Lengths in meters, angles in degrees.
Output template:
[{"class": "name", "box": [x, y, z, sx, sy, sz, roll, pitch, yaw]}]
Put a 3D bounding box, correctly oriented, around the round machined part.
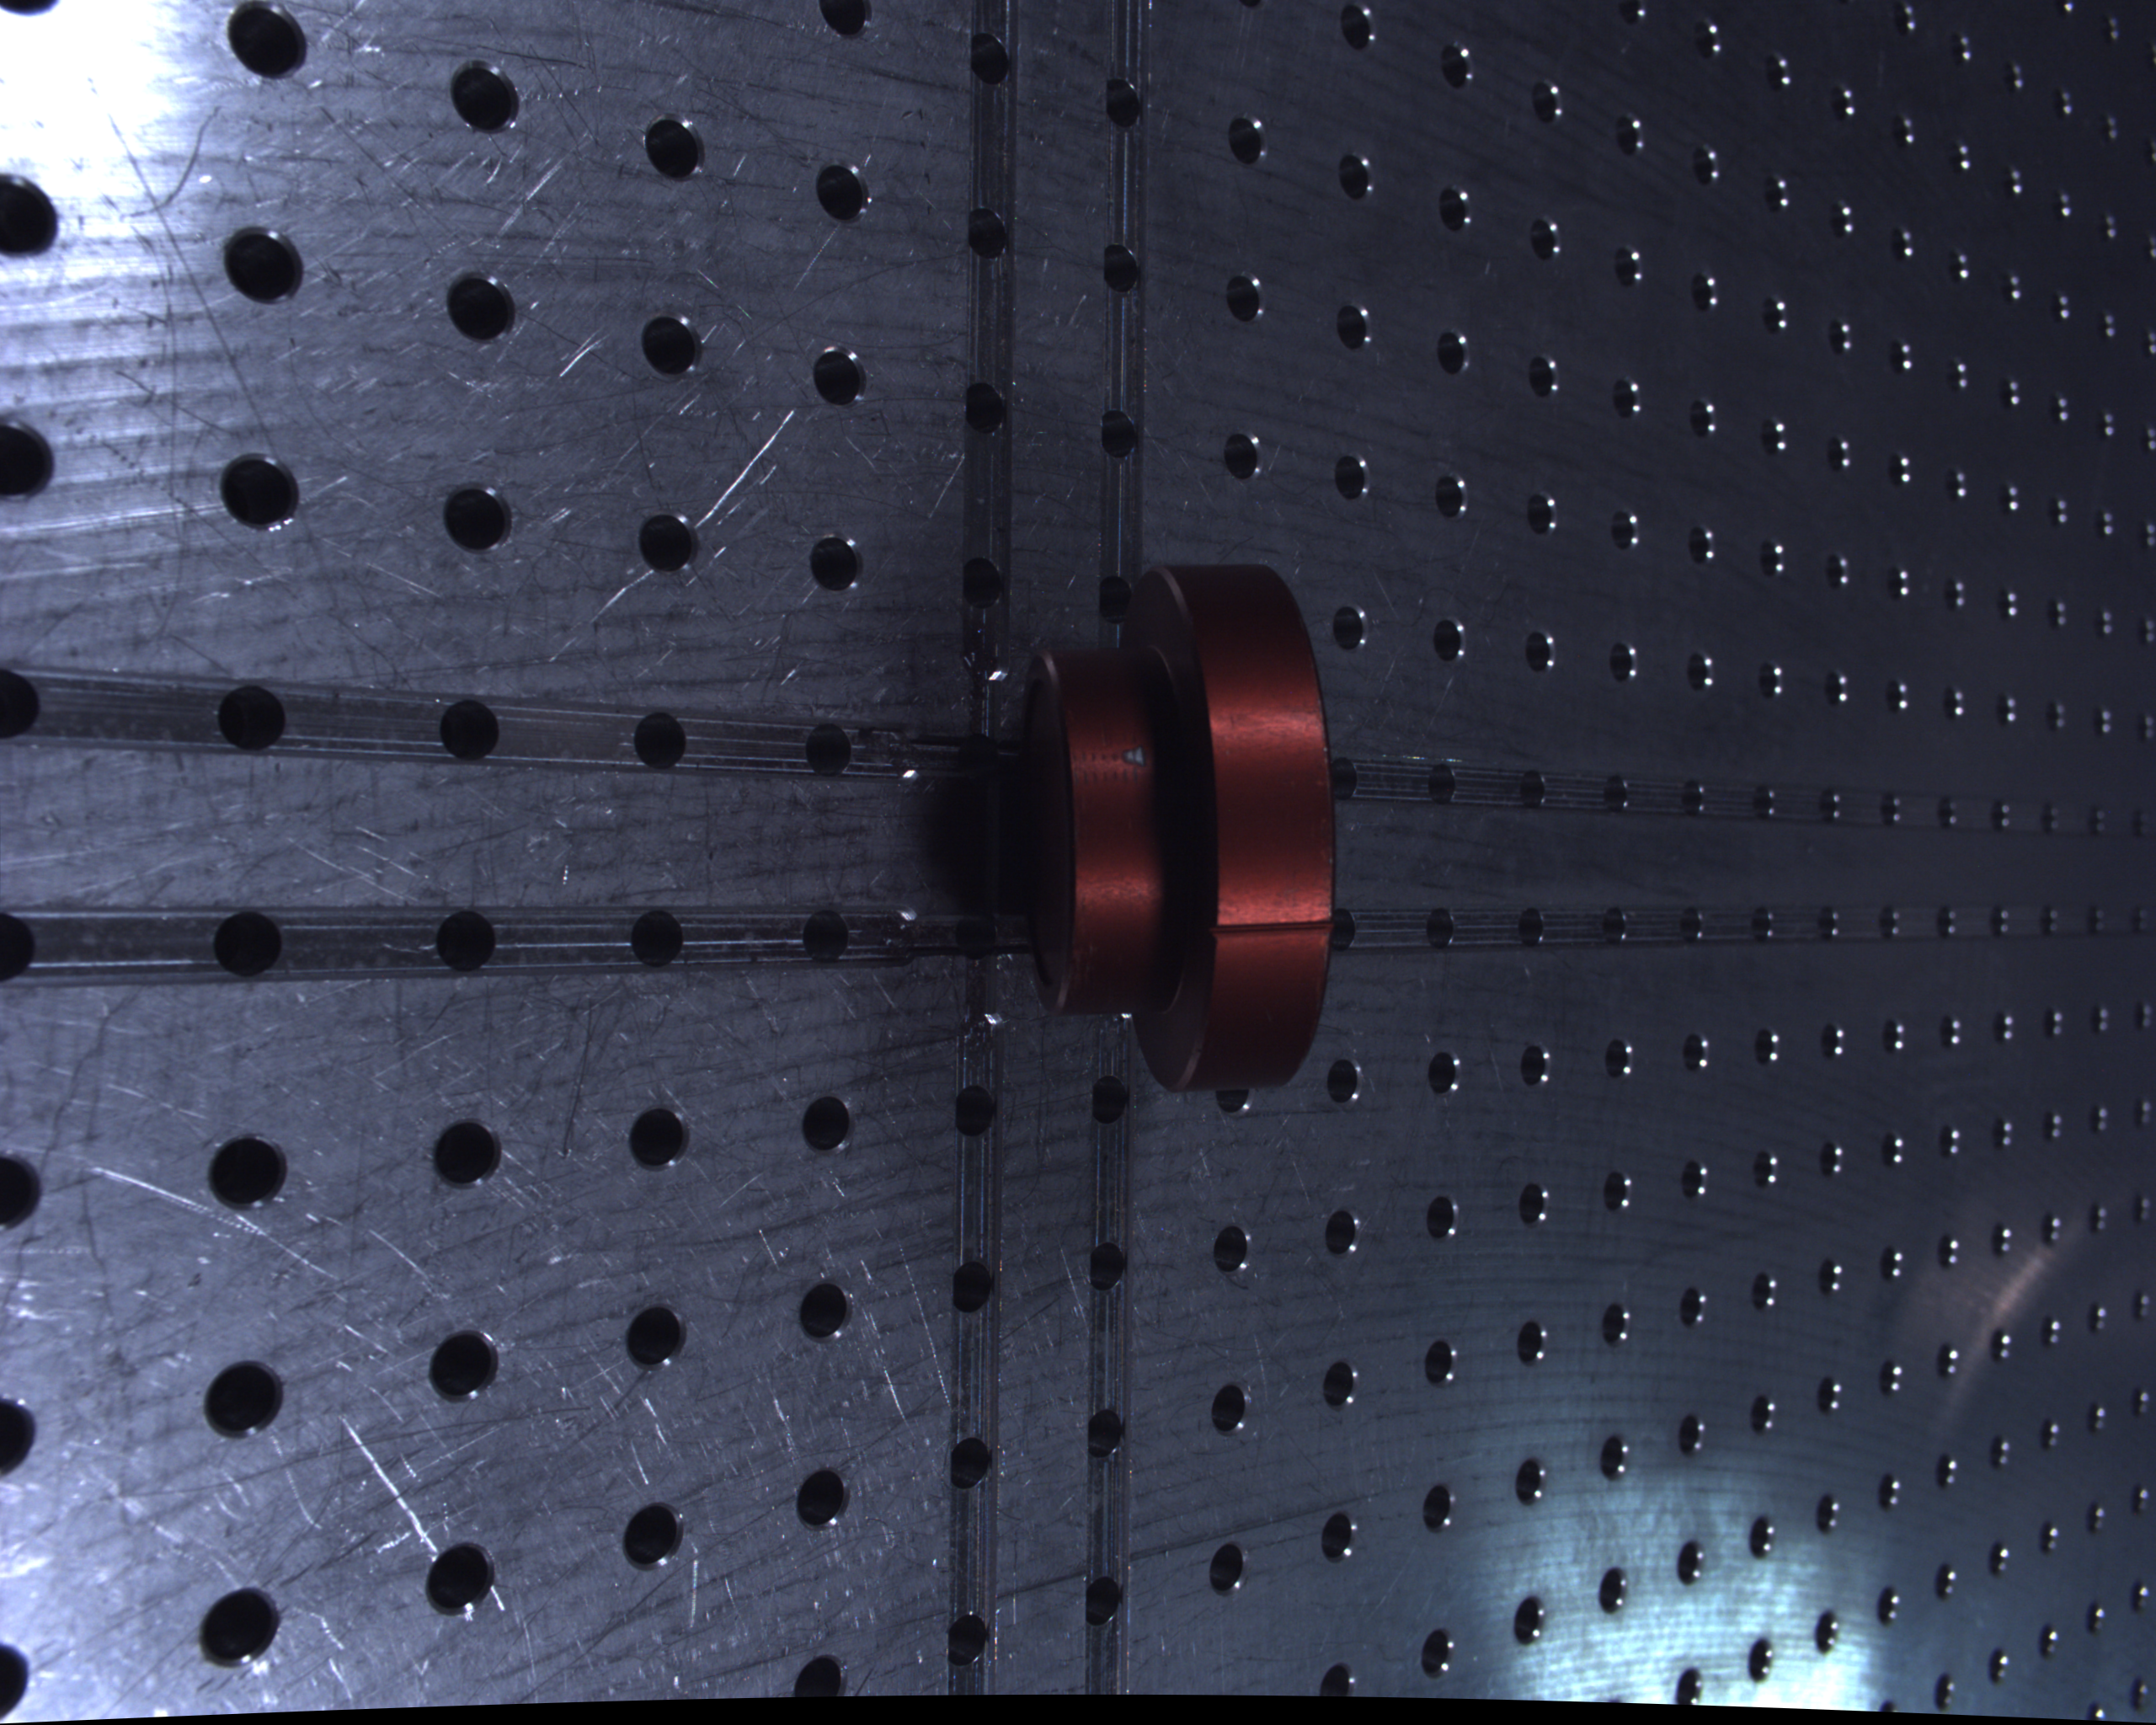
[{"class": "round machined part", "box": [0.015, -0.006, 0.387, 0.042, 0.098, 0.097, -2, 92, -9]}]
